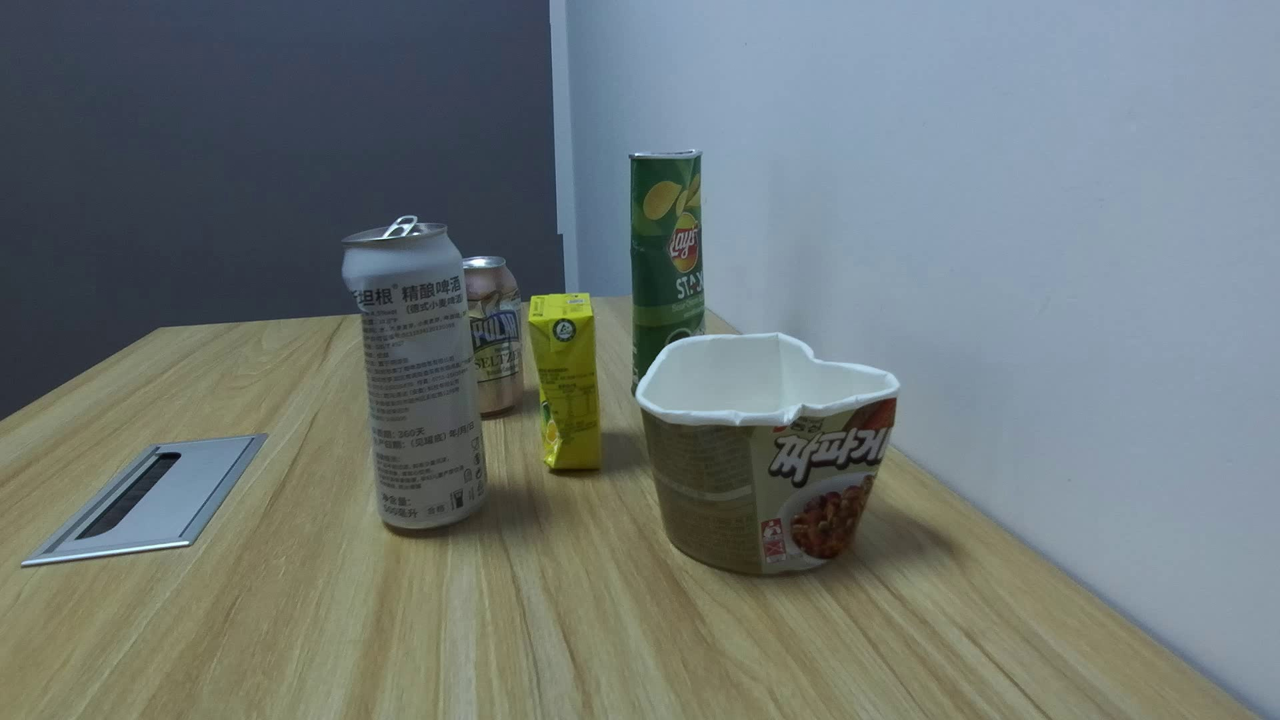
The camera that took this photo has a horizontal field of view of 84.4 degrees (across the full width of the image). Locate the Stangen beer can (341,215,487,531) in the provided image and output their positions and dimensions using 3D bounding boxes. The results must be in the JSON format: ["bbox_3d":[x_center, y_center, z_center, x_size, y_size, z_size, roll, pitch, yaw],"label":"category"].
[{"bbox_3d":[-0.129,0.009,0.404,0.069,0.173,0.070,11,21,38],"label":"Stangen beer can"}]

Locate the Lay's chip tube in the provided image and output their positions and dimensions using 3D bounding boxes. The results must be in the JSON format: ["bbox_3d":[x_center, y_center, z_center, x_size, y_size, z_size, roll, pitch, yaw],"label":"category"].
[{"bbox_3d":[0.024,-0.067,0.584,0.069,0.199,0.074,-4,18,-7],"label":"Lay's chip tube"}]

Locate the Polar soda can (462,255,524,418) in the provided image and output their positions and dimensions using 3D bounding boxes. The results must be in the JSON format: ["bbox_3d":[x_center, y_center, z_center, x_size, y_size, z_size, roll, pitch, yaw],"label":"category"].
[{"bbox_3d":[-0.136,-0.020,0.583,0.074,0.122,0.067,0,20,-2],"label":"Polar soda can"}]

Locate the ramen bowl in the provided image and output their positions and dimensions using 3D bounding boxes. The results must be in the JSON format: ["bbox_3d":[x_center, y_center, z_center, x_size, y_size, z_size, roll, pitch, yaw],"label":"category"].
[{"bbox_3d":[0.058,0.048,0.386,0.134,0.097,0.113,-9,21,-28],"label":"ramen bowl"}]

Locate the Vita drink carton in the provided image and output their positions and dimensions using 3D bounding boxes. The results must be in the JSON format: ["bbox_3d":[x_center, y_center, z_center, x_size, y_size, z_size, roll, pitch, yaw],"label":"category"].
[{"bbox_3d":[-0.050,0.015,0.480,0.043,0.109,0.076,-5,19,-4],"label":"Vita drink carton"}]
